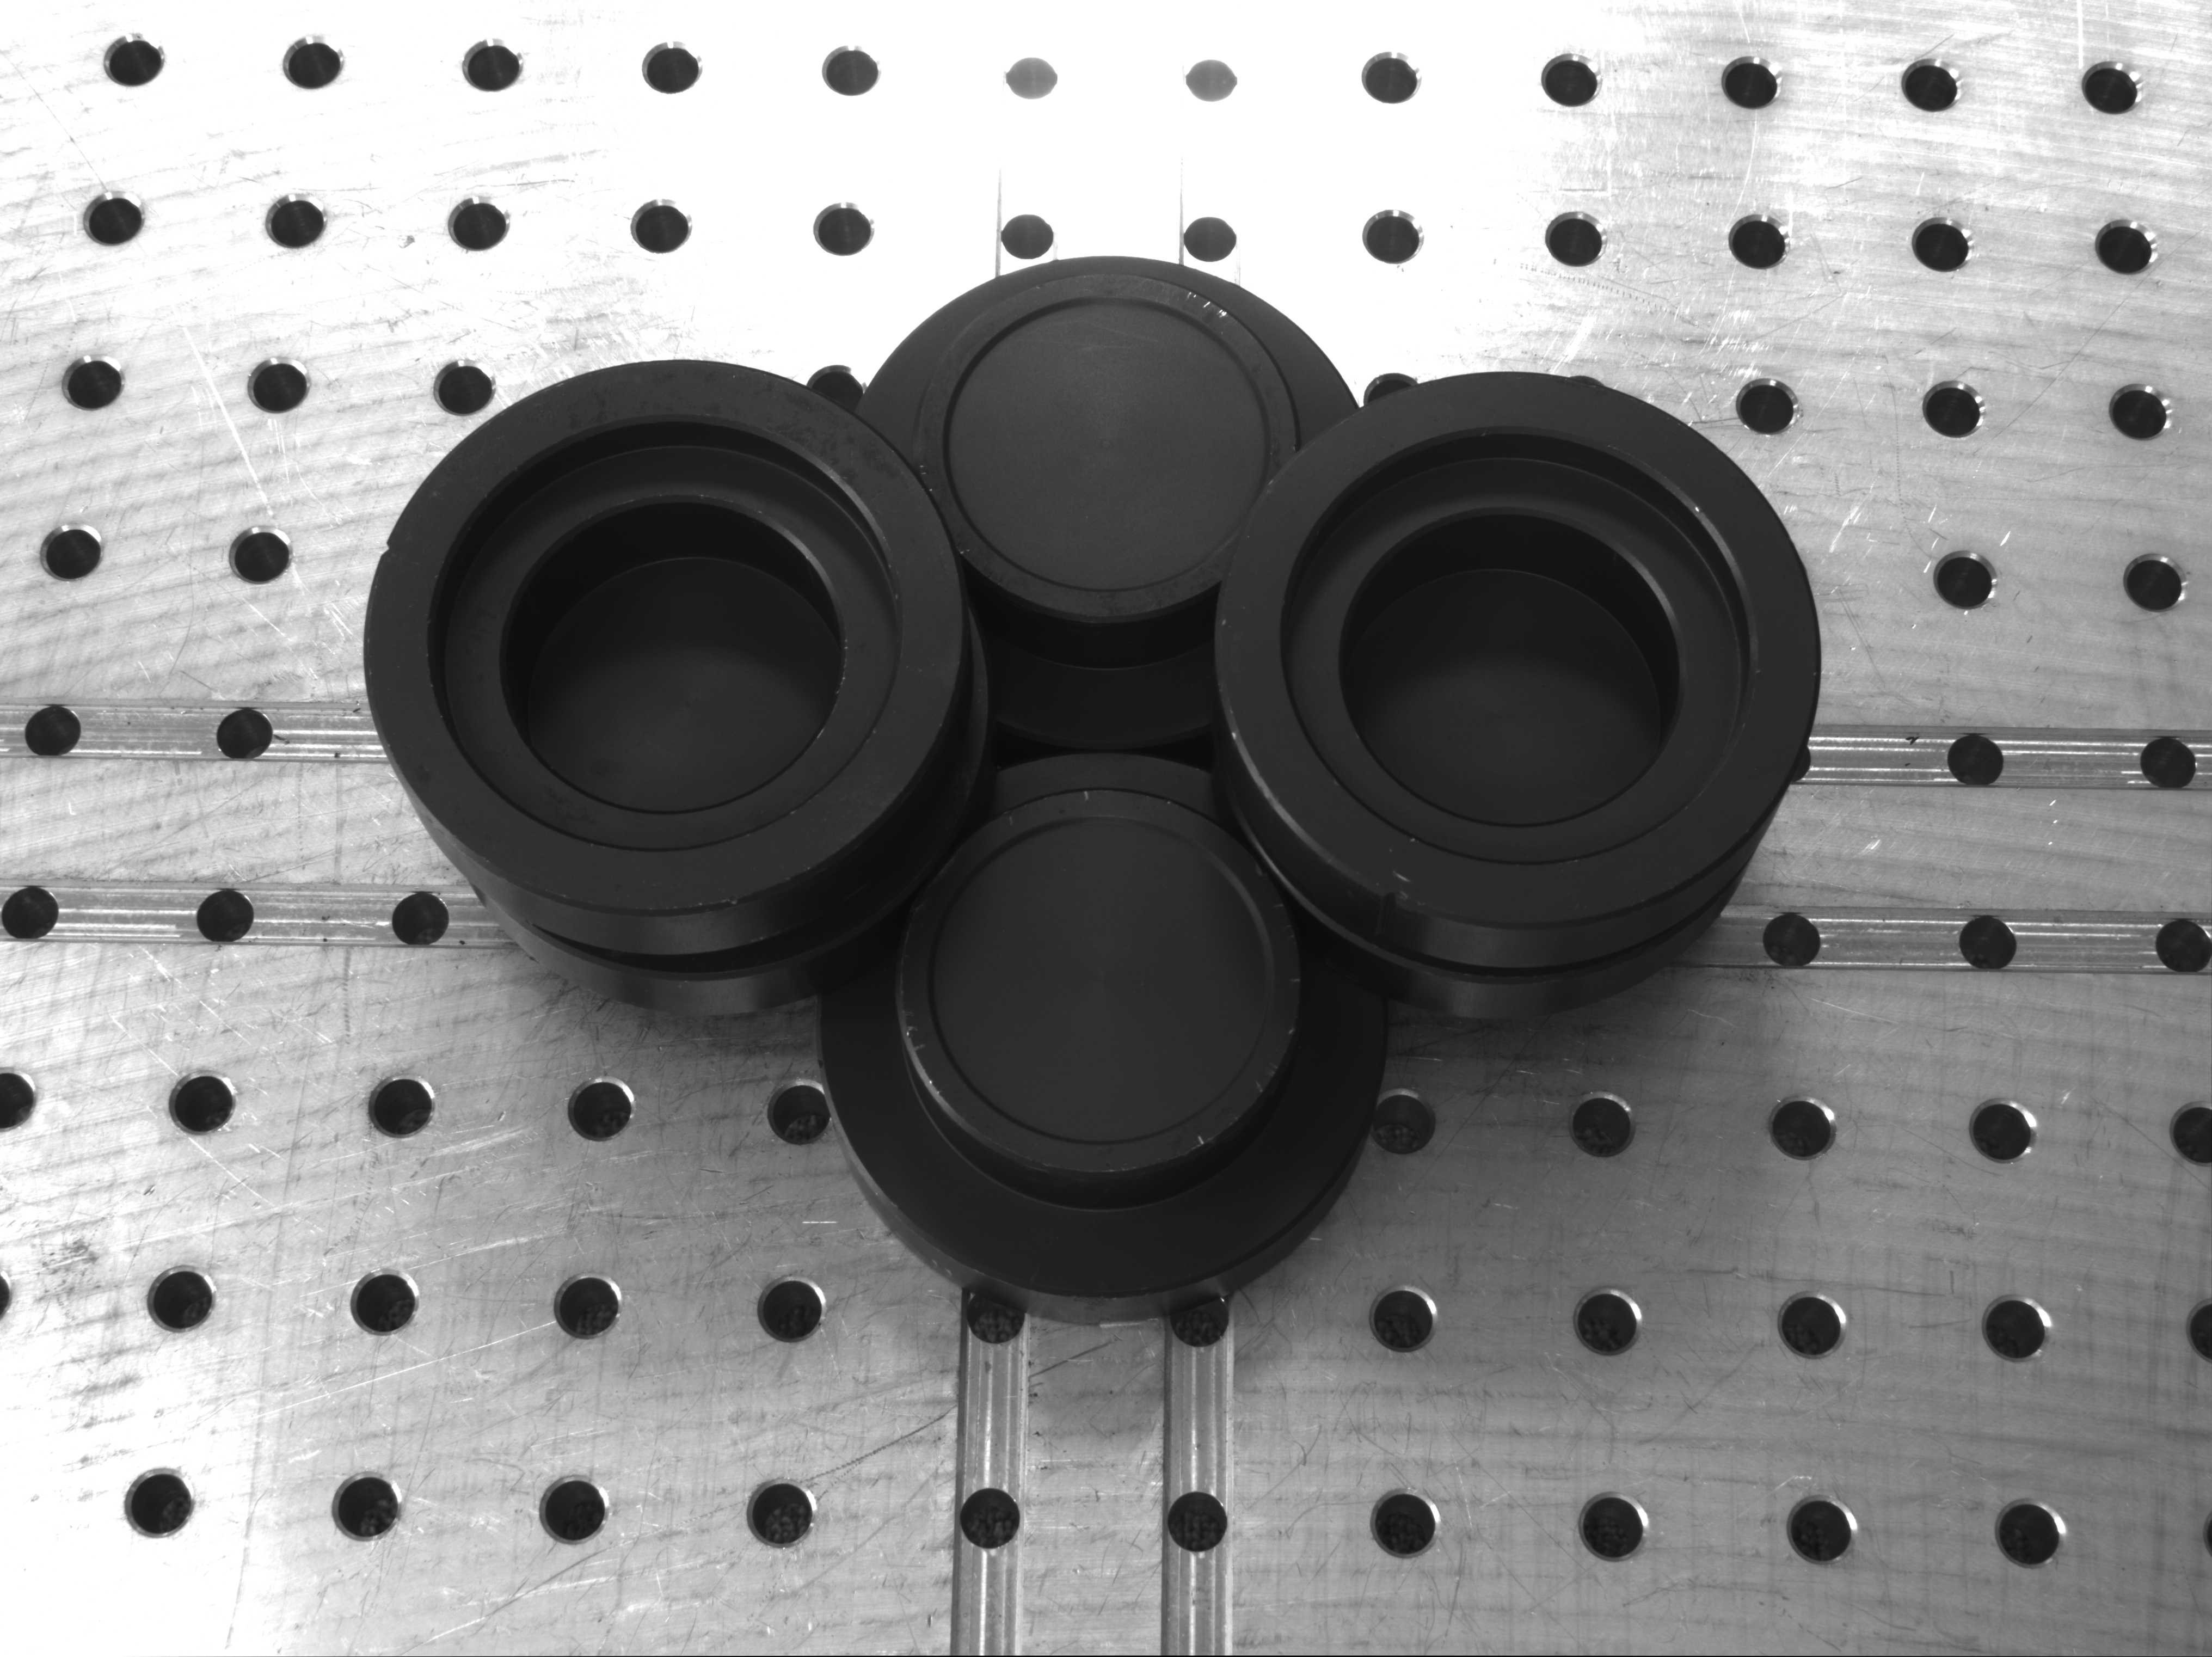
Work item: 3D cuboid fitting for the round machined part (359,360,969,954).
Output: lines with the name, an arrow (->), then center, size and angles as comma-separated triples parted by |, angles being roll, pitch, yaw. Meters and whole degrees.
round machined part -> -0.072, -0.025, 0.613 | 0.098, 0.042, 0.098 | 0, 70, 0

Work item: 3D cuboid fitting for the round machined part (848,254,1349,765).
round machined part -> -0.001, -0.061, 0.661 | 0.098, 0.042, 0.098 | 0, 70, 0

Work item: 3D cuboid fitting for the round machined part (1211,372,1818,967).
round machined part -> 0.066, -0.023, 0.613 | 0.098, 0.042, 0.098 | 0, 70, 0

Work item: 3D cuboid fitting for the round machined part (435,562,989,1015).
round machined part -> -0.069, -0.014, 0.643 | 0.098, 0.042, 0.098 | 0, 70, 0

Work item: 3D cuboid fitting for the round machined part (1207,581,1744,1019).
round machined part -> 0.067, -0.013, 0.643 | 0.098, 0.042, 0.098 | 0, 70, 0

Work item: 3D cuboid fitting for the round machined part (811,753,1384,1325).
round machined part -> -0.001, 0.032, 0.626 | 0.098, 0.042, 0.098 | 0, 70, 0
